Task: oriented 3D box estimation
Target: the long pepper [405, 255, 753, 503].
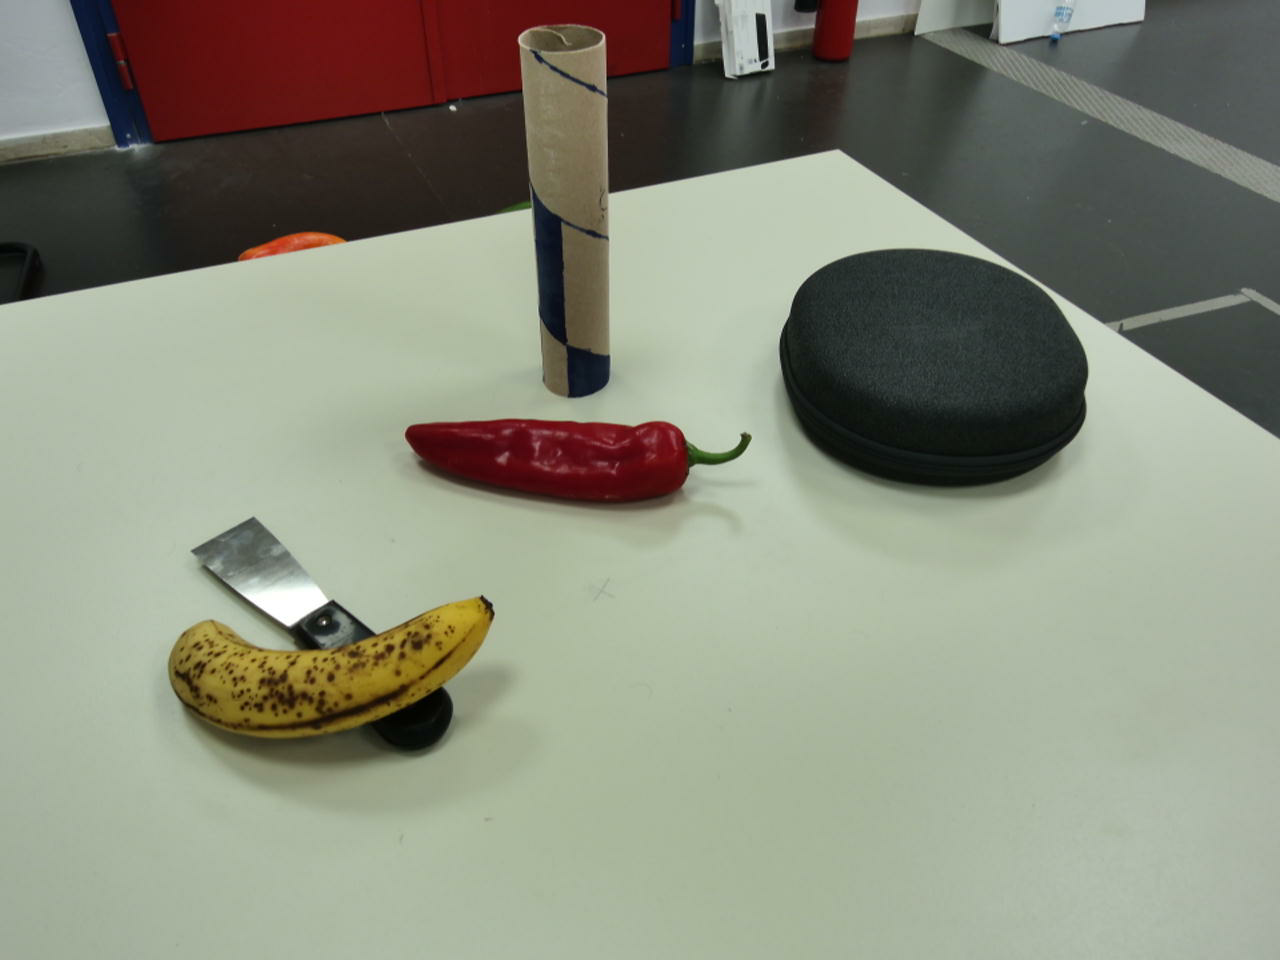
[{"bbox_3d":[-0.041,-0.016,0.591,0.211,0.043,0.050,5,39,6],"label":"long pepper"}]
